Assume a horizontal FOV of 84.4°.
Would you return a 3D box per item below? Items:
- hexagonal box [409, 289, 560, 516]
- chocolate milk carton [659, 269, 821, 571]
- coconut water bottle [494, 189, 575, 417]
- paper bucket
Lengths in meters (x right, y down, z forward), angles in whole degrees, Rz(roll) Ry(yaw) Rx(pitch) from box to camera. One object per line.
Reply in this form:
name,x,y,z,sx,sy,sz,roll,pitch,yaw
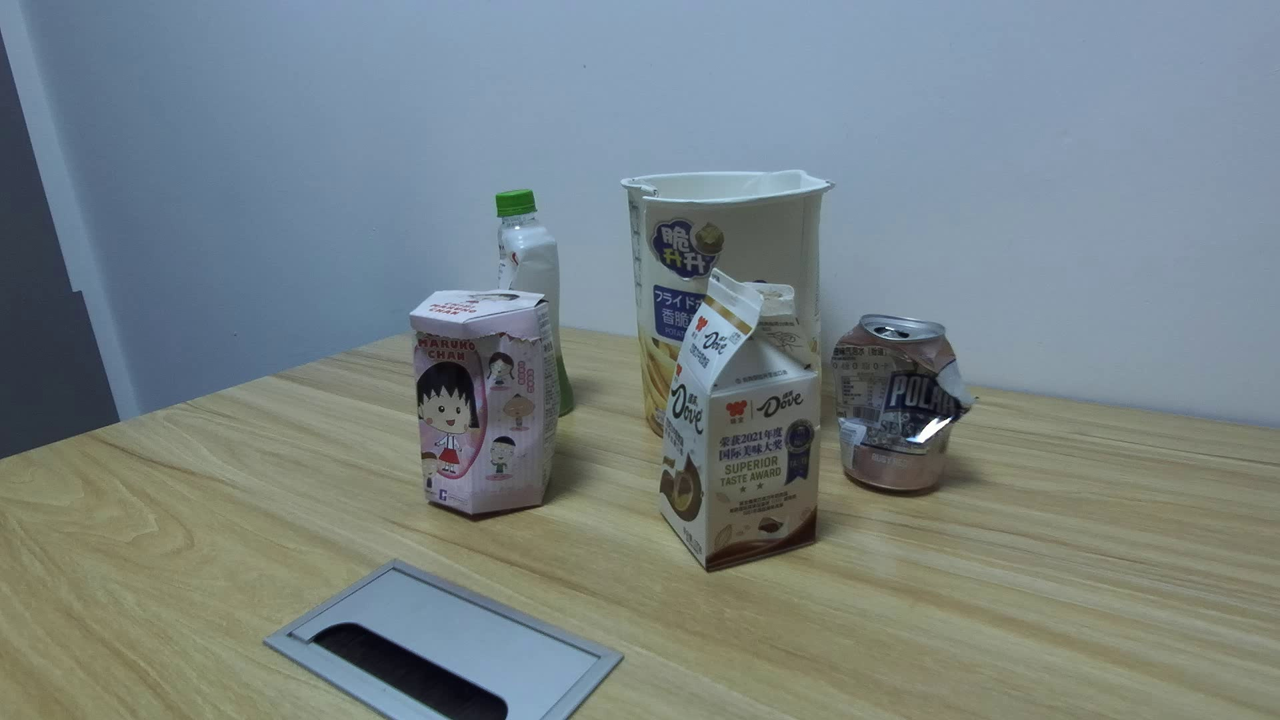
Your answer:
hexagonal box,-0.103,0.025,0.474,0.090,0.134,0.091,-5,18,-16
chocolate milk carton,0.056,0.028,0.405,0.073,0.155,0.084,-9,19,-17
coconut water bottle,-0.093,-0.046,0.598,0.069,0.187,0.069,-2,15,1
paper bucket,0.071,-0.046,0.559,0.146,0.197,0.202,-6,19,-5
